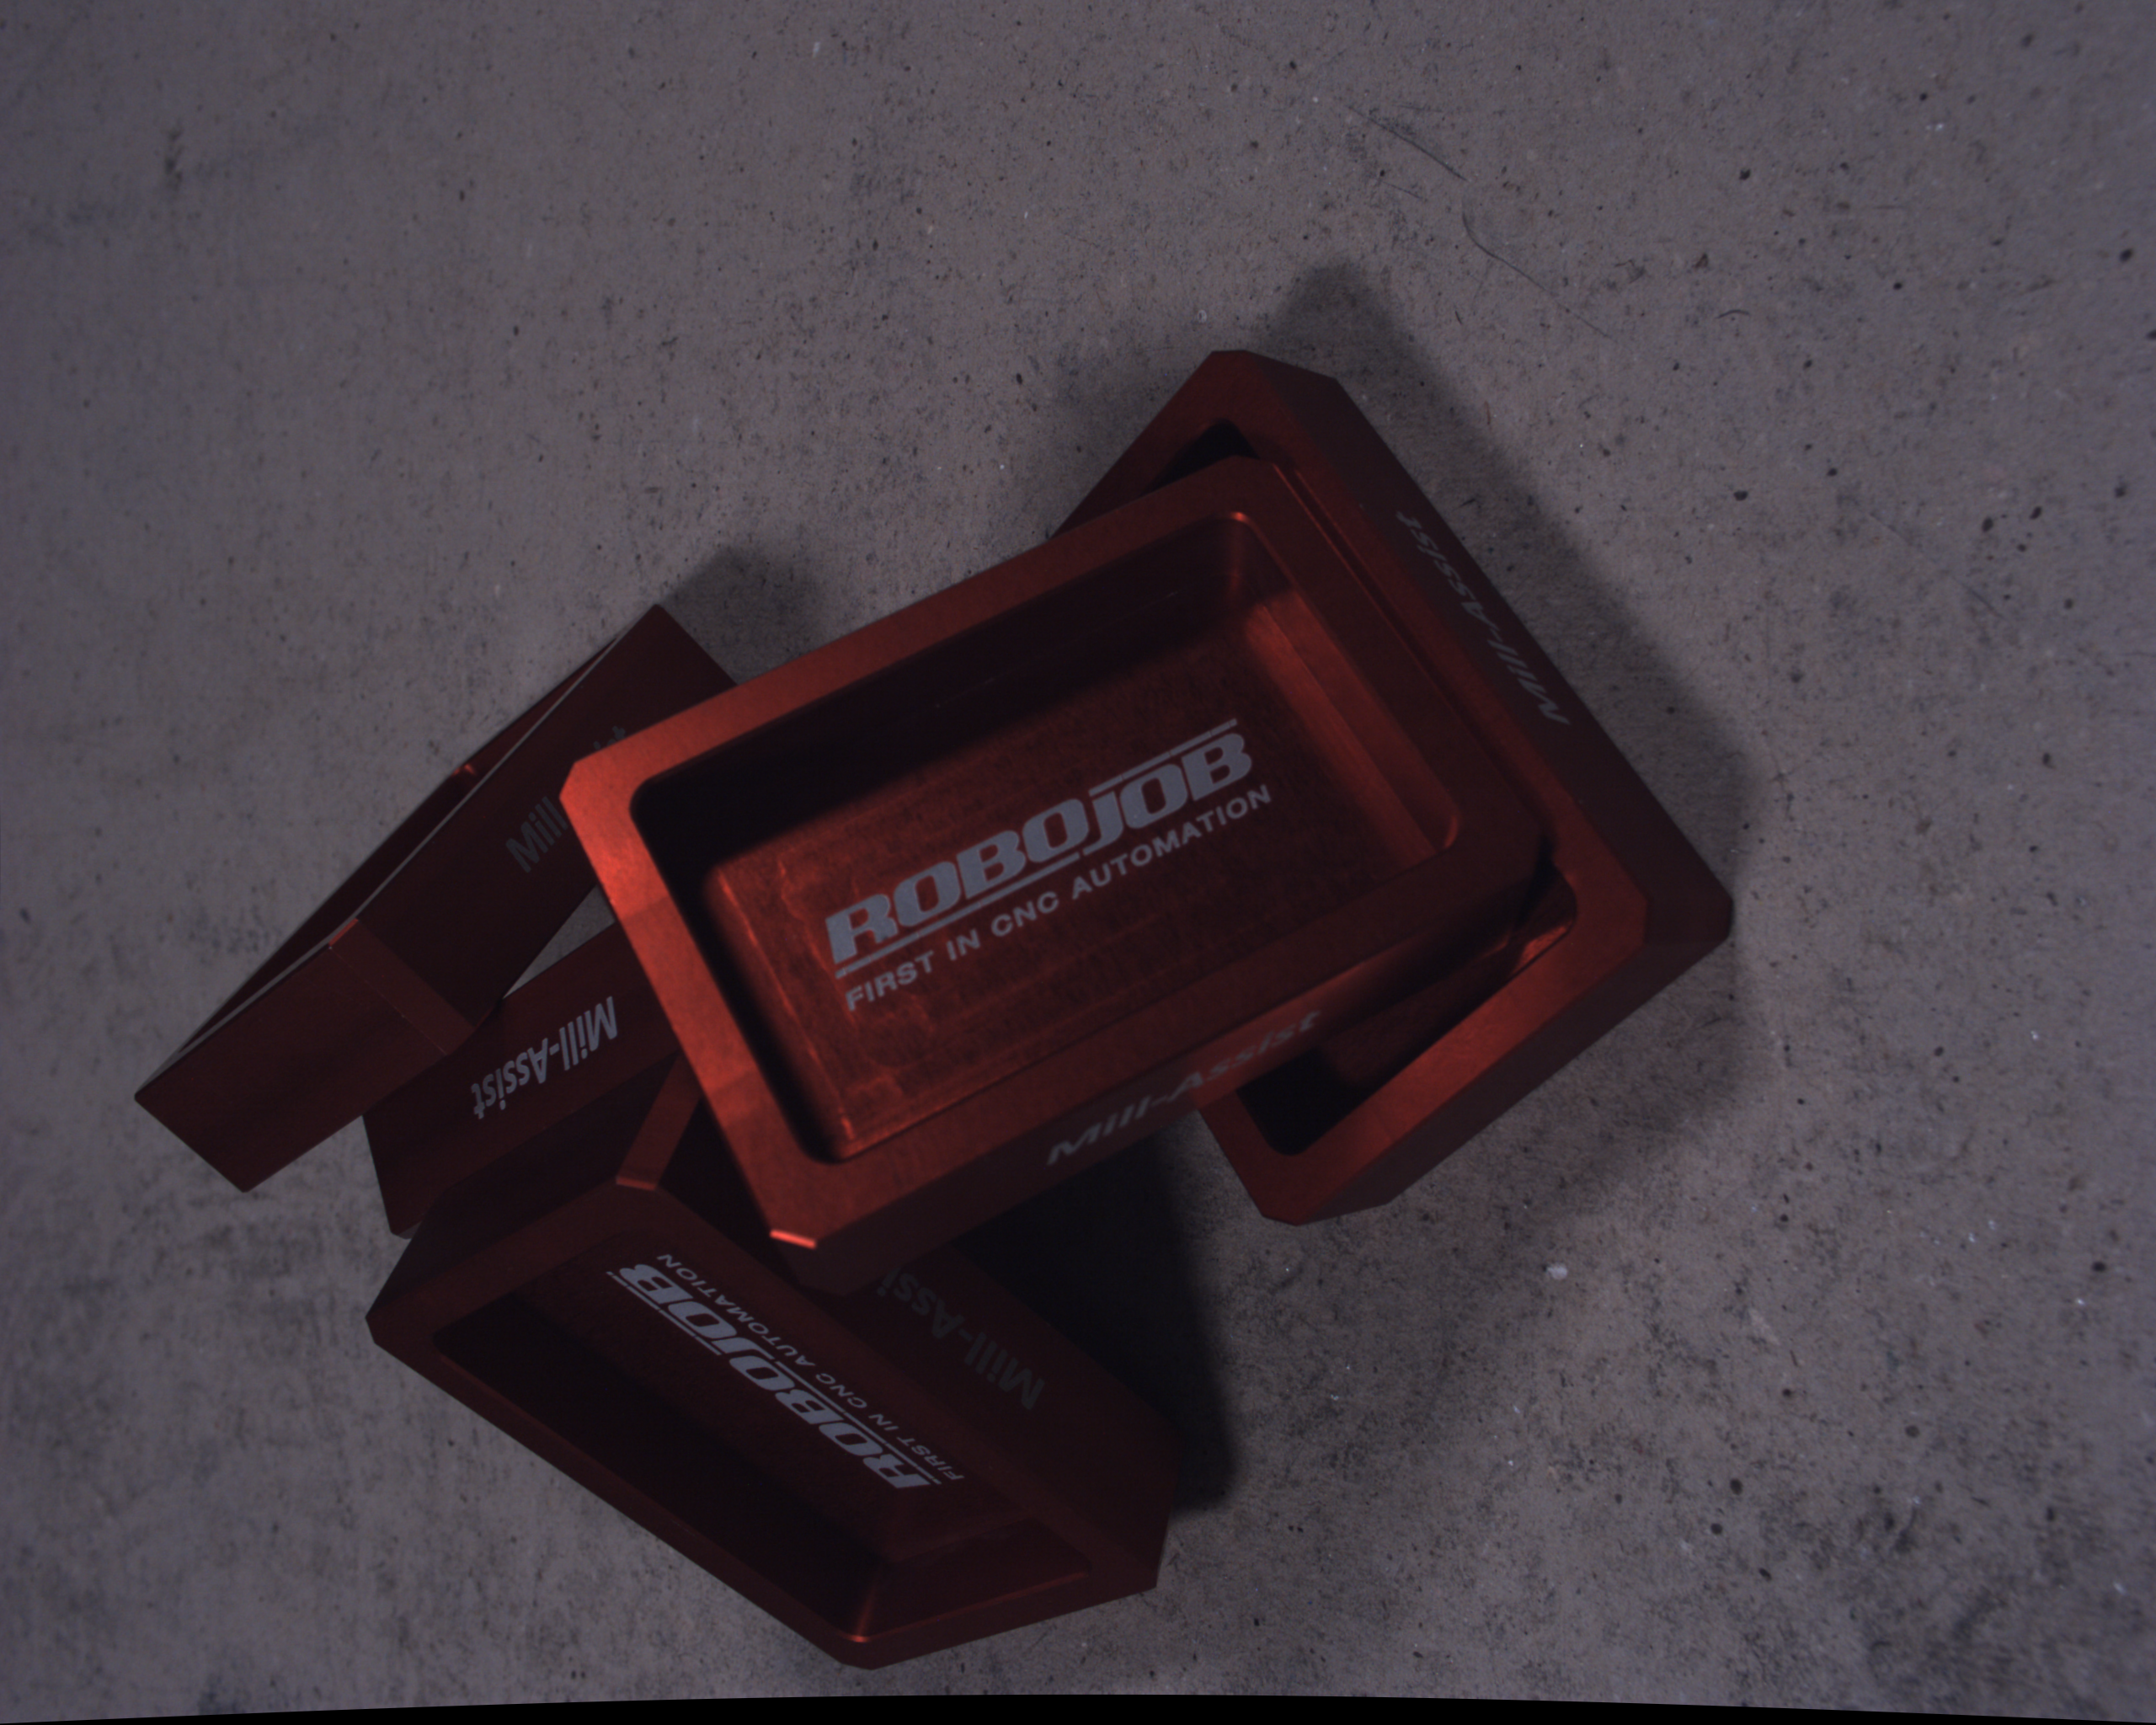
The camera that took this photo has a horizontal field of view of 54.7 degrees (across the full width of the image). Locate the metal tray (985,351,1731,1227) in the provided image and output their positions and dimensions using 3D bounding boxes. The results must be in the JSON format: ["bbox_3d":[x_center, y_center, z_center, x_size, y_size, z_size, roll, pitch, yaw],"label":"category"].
[{"bbox_3d":[0.040,-0.014,0.369,0.090,0.030,0.130,-46,63,30],"label":"metal tray"}]

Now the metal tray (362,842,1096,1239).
[{"bbox_3d":[-0.070,0.036,0.420,0.130,0.091,0.030,-31,71,35],"label":"metal tray"}]

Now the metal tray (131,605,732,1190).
[{"bbox_3d":[-0.135,0.004,0.453,0.090,0.130,0.030,-30,110,35],"label":"metal tray"}]

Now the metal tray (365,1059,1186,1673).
[{"bbox_3d":[-0.055,0.100,0.393,0.090,0.130,0.030,-31,26,36],"label":"metal tray"}]

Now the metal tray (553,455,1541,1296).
[{"bbox_3d":[-0.005,-0.001,0.336,0.131,0.030,0.090,-27,67,-11],"label":"metal tray"}]
